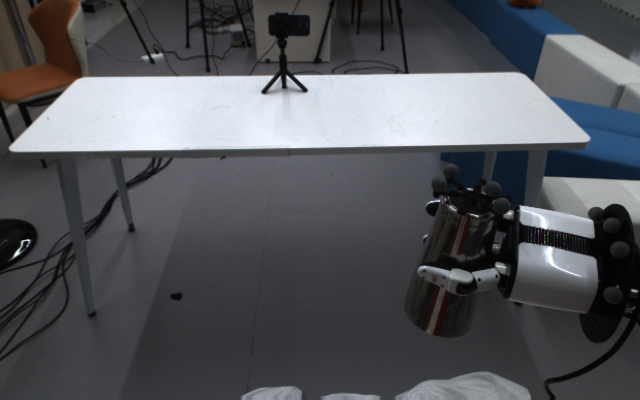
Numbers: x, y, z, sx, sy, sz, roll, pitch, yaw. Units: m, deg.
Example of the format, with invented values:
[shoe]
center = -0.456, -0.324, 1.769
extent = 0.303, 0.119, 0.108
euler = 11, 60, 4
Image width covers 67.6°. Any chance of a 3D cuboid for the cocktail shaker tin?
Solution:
[cocktail shaker tin]
center = 0.164, 0.073, 0.591
extent = 0.093, 0.170, 0.093
euler = 4, 32, -2
